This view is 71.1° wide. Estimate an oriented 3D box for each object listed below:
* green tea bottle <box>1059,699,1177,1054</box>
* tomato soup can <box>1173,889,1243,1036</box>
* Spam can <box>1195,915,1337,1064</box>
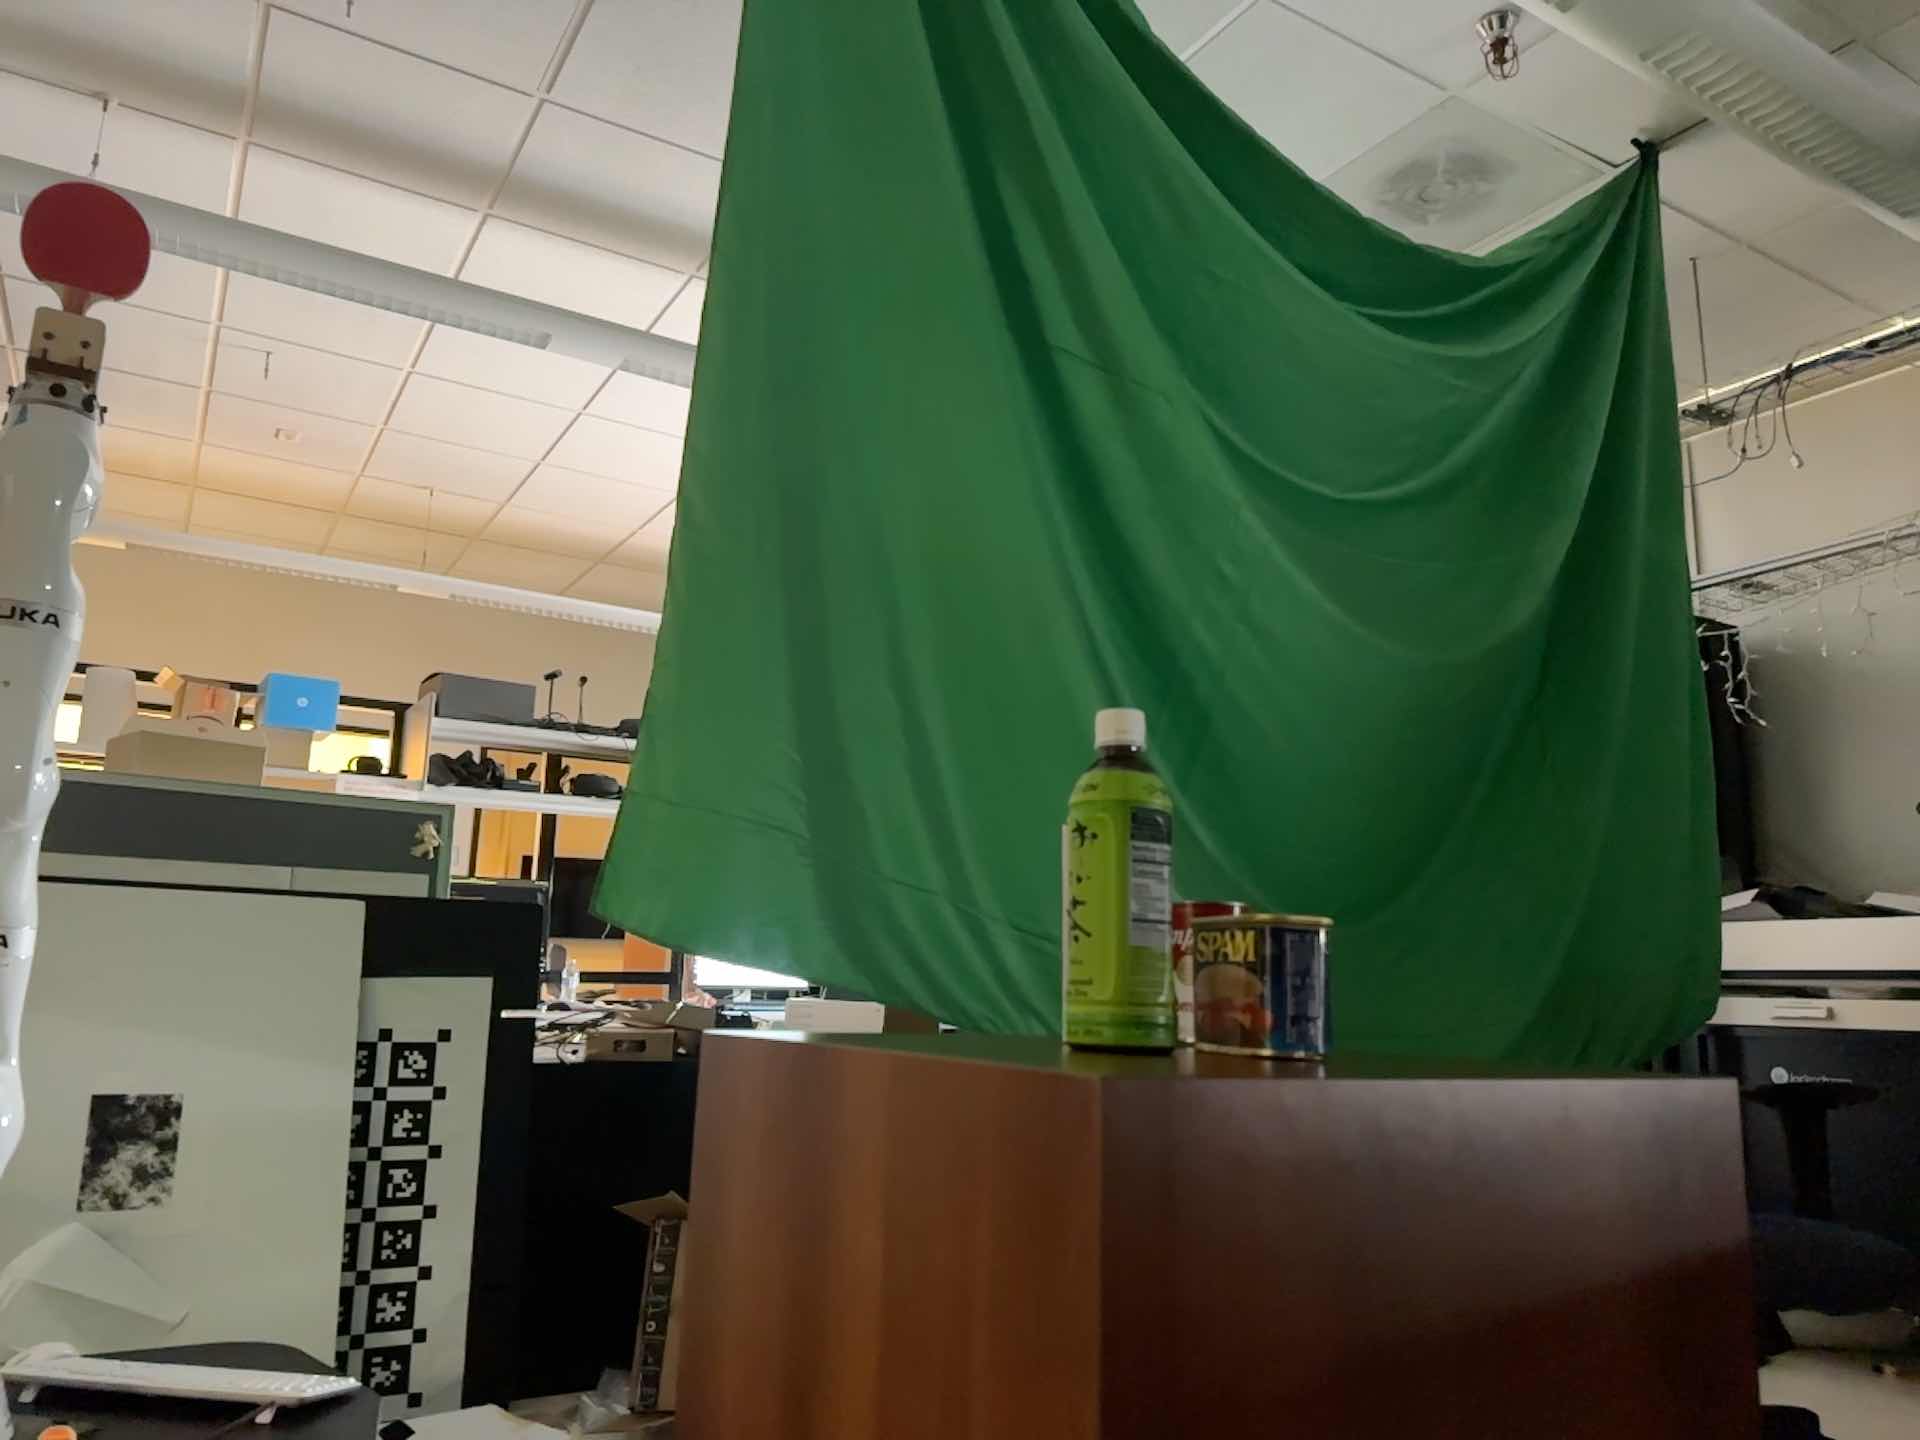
[{"bbox_3d":[0.095,0.094,0.821,0.073,0.212,0.073,0,-11,0],"label":"green tea bottle"},{"bbox_3d":[0.169,0.174,0.971,0.067,0.102,0.067,2,-7,0],"label":"tomato soup can"},{"bbox_3d":[0.187,0.164,0.831,0.056,0.083,0.100,4,-9,-16],"label":"Spam can"}]
